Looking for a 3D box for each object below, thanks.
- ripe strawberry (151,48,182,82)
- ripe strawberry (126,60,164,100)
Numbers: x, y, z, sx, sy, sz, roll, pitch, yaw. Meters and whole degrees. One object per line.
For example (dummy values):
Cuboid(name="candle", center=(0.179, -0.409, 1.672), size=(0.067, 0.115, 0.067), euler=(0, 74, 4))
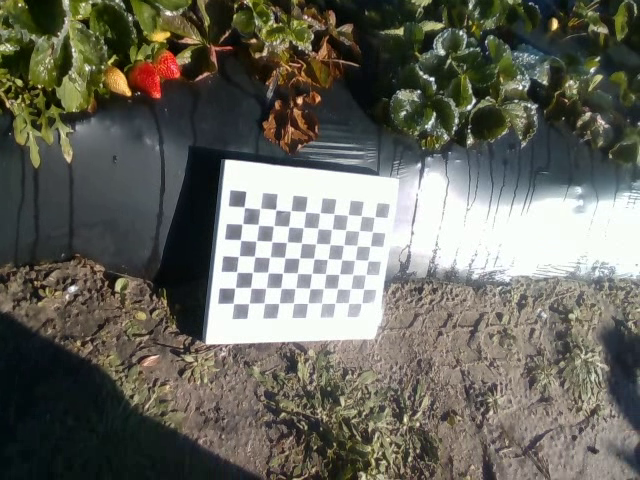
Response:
Cuboid(name="ripe strawberry", center=(-0.189, -0.216, 0.669), size=(0.041, 0.036, 0.030), euler=(33, -3, -21))
Cuboid(name="ripe strawberry", center=(-0.206, -0.187, 0.648), size=(0.036, 0.052, 0.040), euler=(-36, -15, -14))
